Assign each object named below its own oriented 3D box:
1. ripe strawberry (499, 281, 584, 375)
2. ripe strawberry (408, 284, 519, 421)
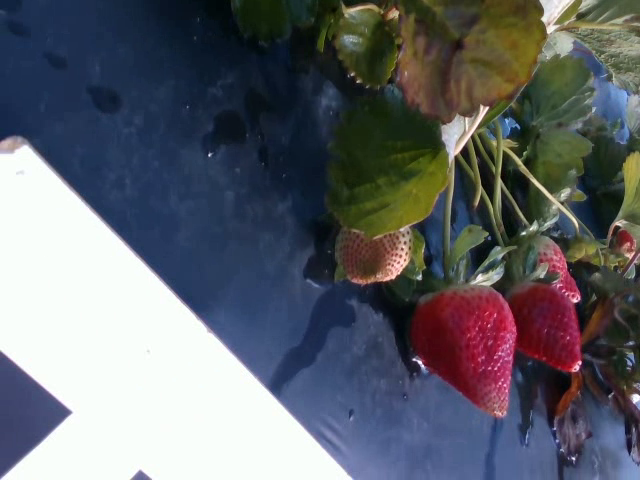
[{"bbox_3d":[0.120,0.050,0.318,0.045,0.055,0.041,-16,-37,-19],"label":"ripe strawberry"},{"bbox_3d":[0.066,0.047,0.251,0.050,0.049,0.065,9,40,-22],"label":"ripe strawberry"}]
